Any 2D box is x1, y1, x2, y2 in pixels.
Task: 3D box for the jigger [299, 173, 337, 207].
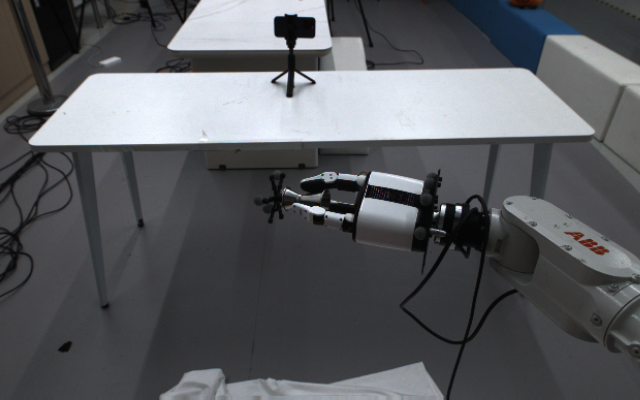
[{"bbox_3d":[-0.015,-0.005,0.767,0.071,0.043,0.043,5,34,20],"label":"jigger"}]
